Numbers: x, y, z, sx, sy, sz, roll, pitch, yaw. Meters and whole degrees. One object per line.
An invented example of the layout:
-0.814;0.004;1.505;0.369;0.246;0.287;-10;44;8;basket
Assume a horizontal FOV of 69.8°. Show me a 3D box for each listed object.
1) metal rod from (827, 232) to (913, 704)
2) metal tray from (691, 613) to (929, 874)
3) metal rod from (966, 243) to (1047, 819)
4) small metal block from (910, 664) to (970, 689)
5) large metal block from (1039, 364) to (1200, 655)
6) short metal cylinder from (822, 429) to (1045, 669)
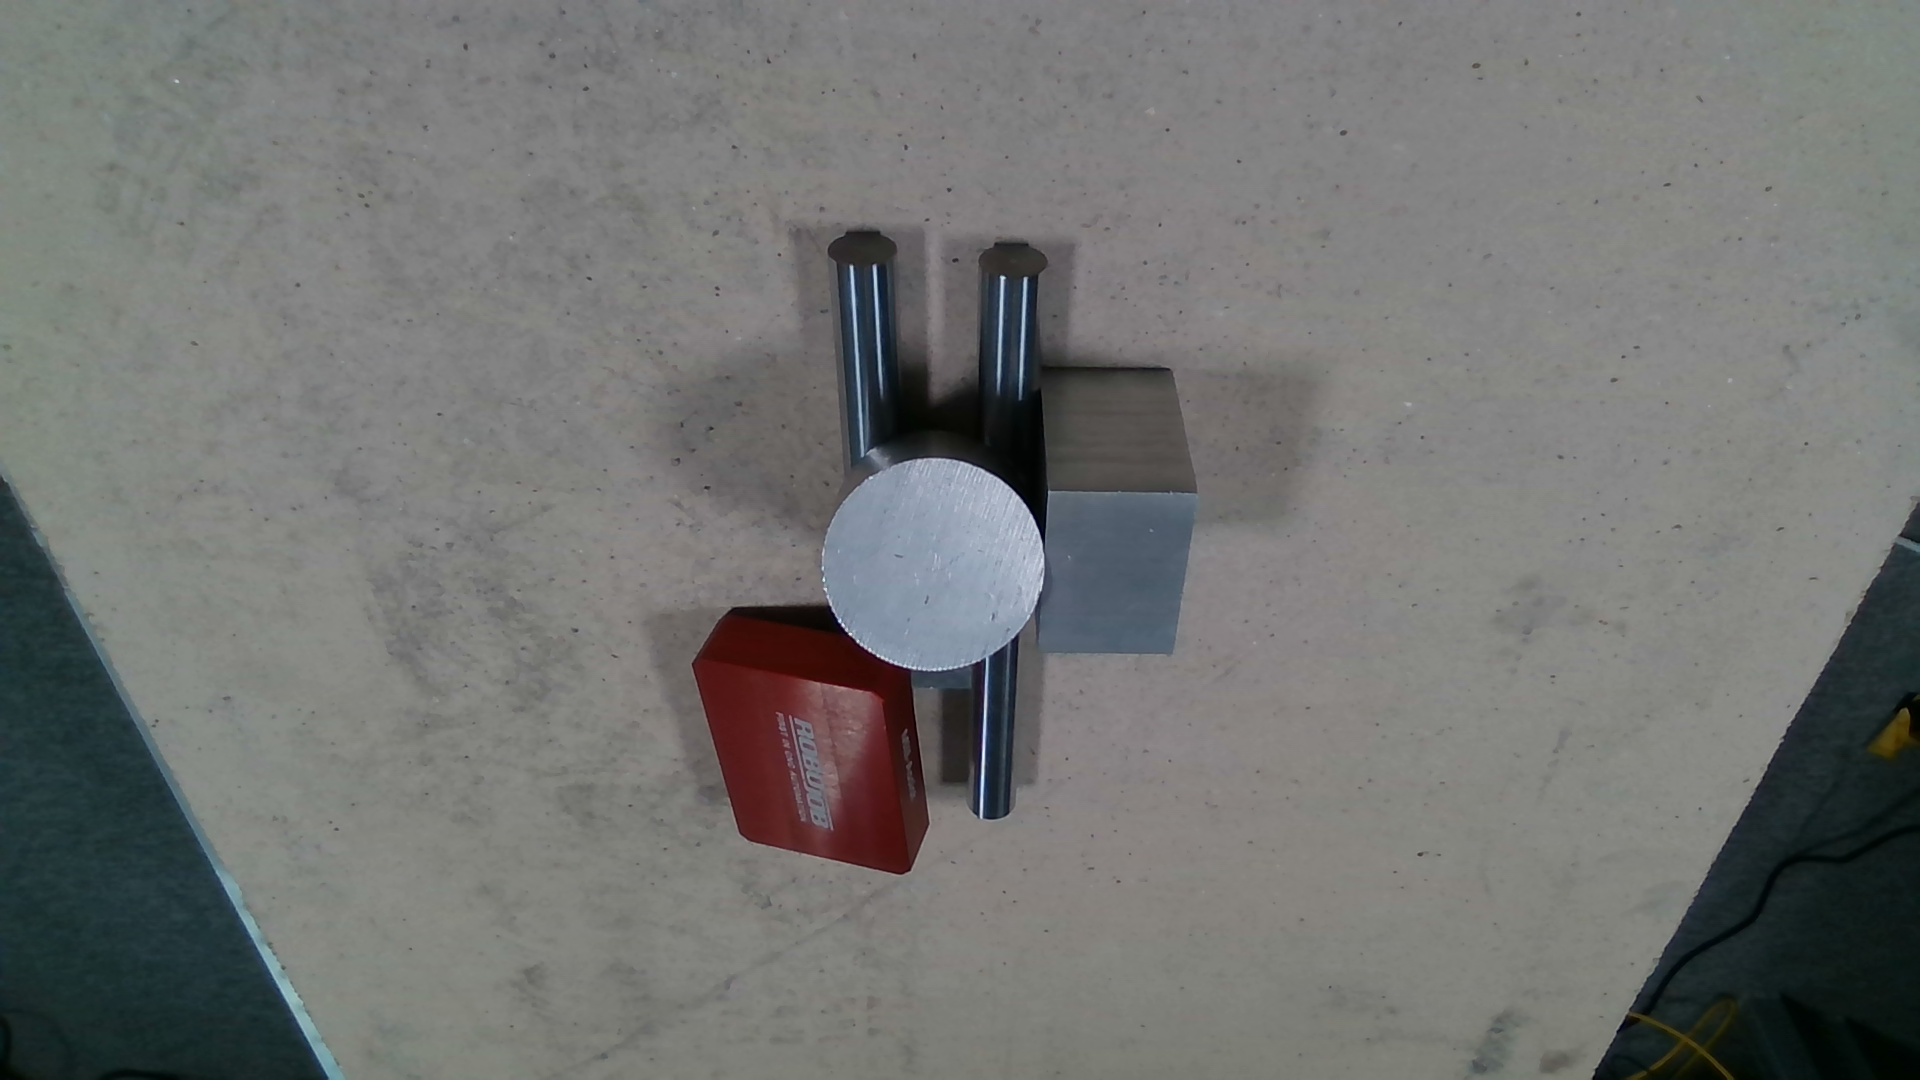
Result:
-0.034;0.011;0.589;0.025;0.025;0.301;0;130;0;metal rod
-0.066;0.097;0.639;0.090;0.030;0.130;9;133;16;metal tray
0.017;0.014;0.592;0.025;0.025;0.301;1;130;0;metal rod
-0.008;0.028;0.586;0.025;0.050;0.050;1;130;0;small metal block
0.058;-0.012;0.534;0.050;0.080;0.080;1;130;-1;large metal block
-0.010;0.002;0.519;0.080;0.050;0.080;0;106;-2;short metal cylinder
